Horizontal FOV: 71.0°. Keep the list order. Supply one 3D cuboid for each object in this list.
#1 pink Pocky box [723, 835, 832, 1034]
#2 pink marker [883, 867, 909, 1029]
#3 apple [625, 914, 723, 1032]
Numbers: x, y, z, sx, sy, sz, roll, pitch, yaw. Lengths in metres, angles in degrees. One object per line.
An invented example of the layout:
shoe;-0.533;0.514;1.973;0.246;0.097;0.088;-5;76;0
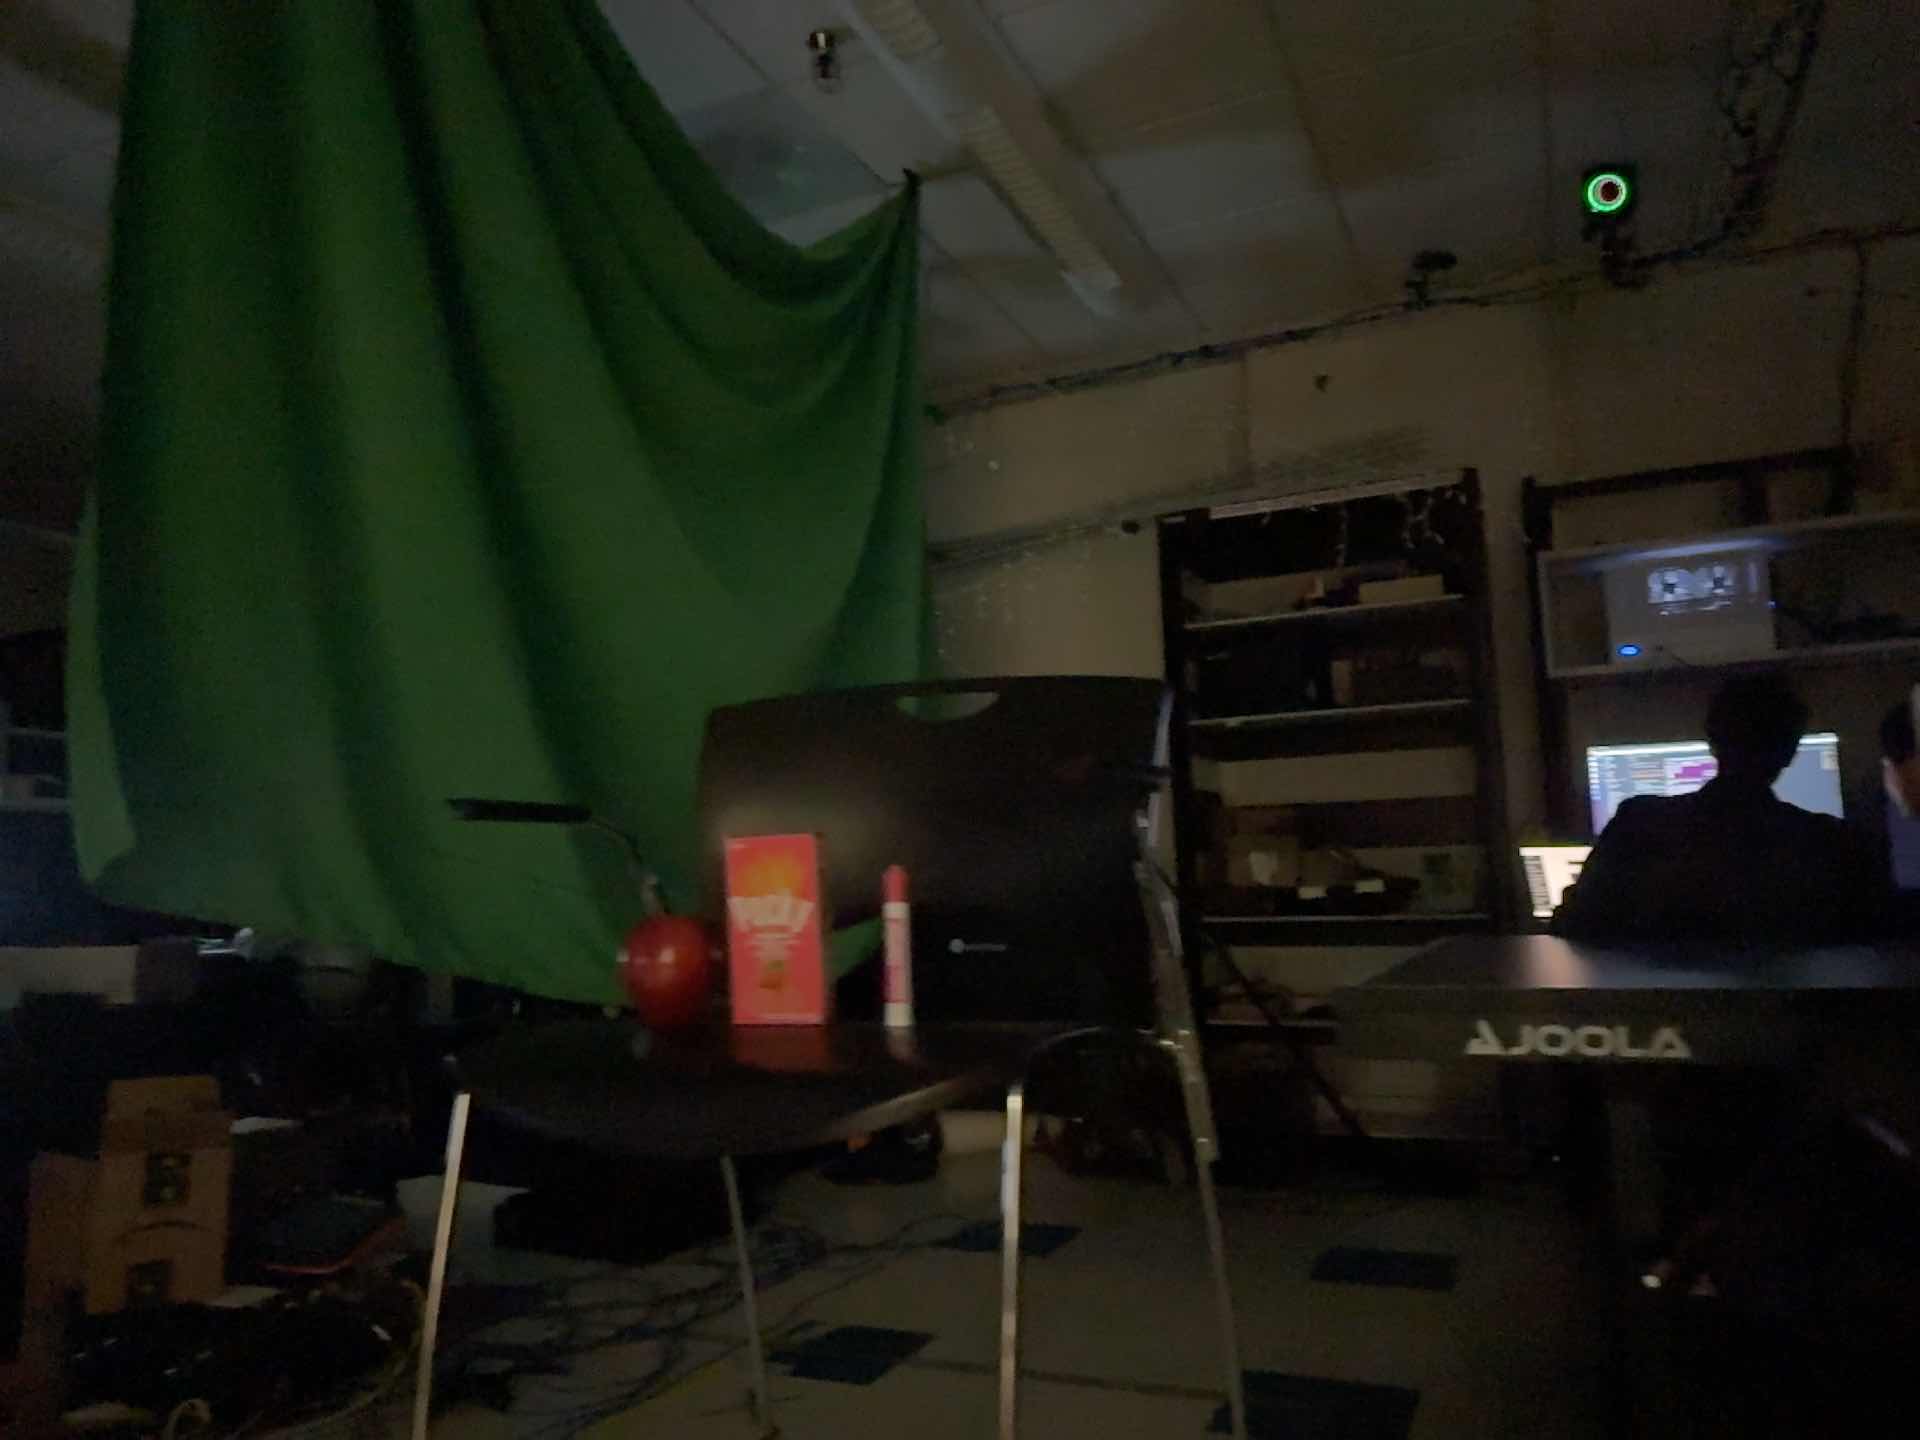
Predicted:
pink Pocky box;-0.147;0.170;1.074;0.084;0.155;0.029;-3;-4;22
pink marker;-0.049;0.174;1.033;0.020;0.121;0.020;0;-5;0
apple;-0.234;0.206;1.101;0.079;0.093;0.079;1;-9;0
